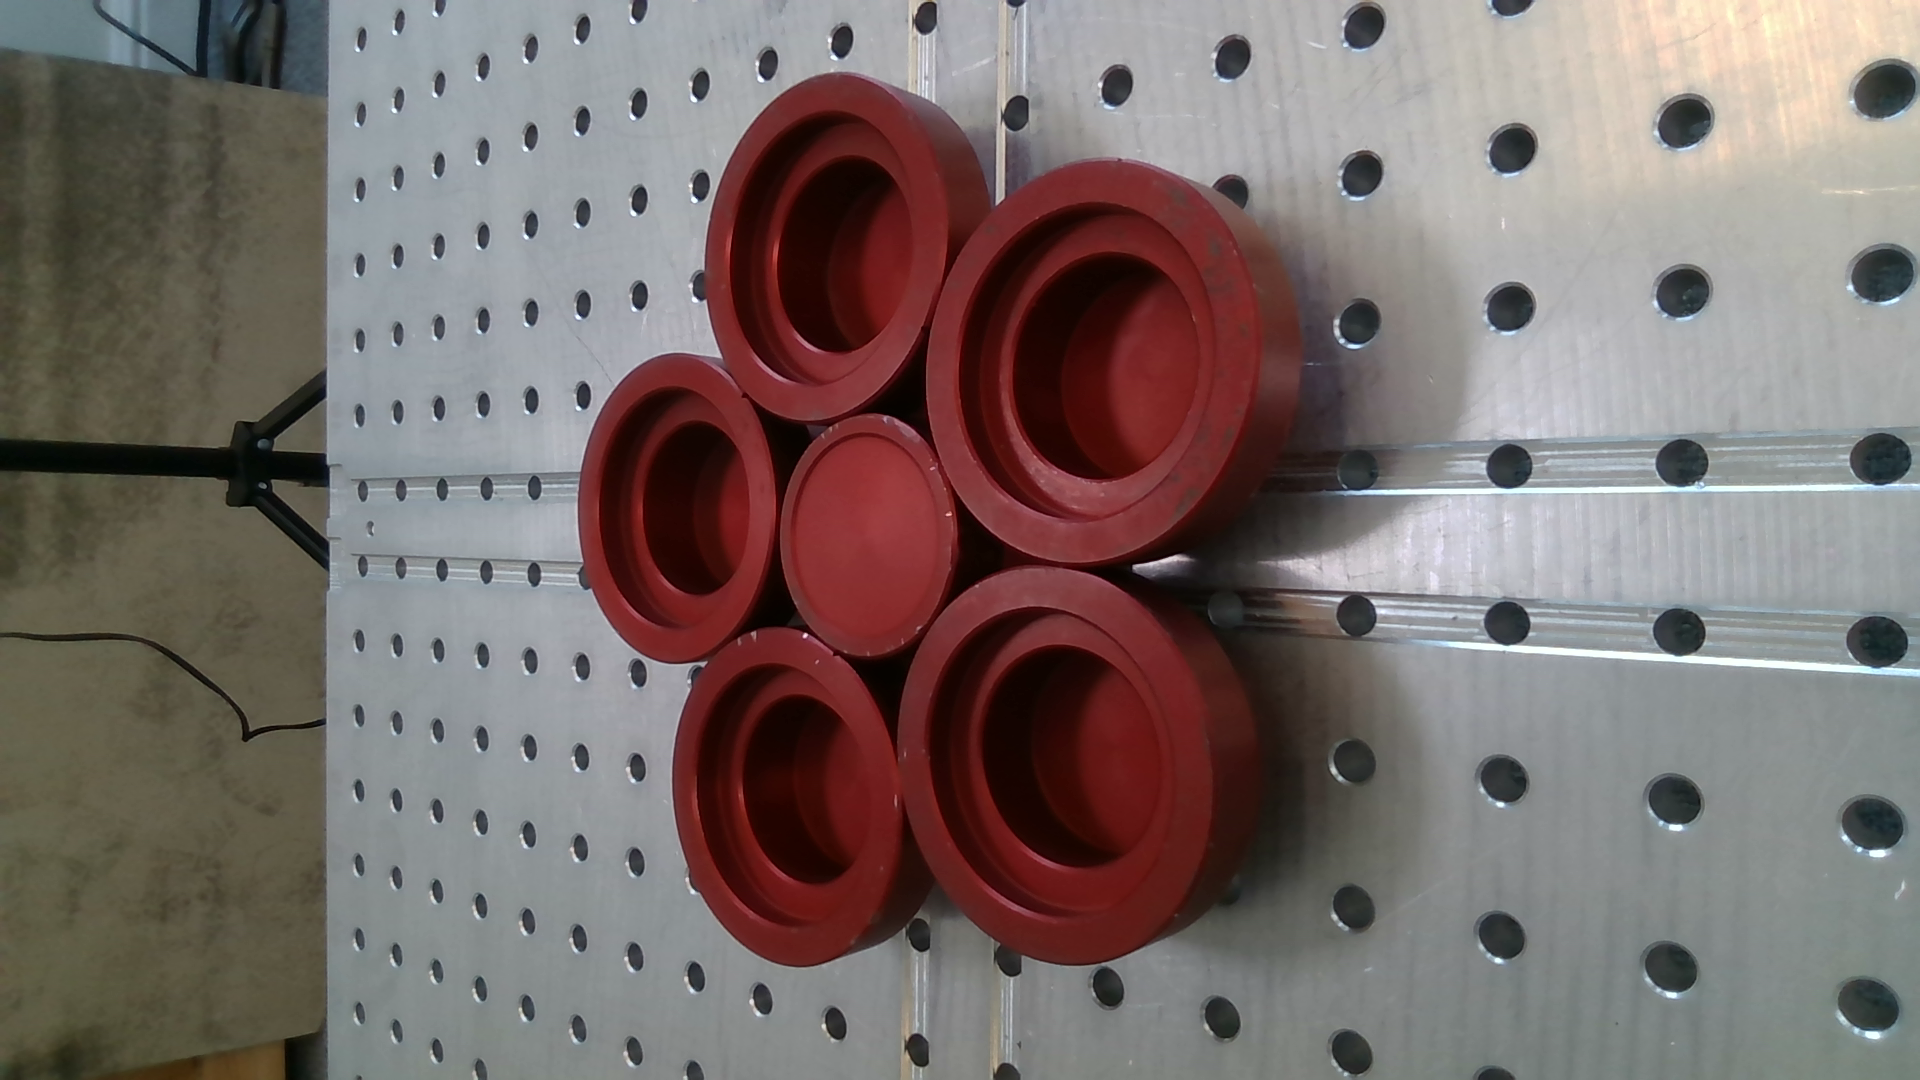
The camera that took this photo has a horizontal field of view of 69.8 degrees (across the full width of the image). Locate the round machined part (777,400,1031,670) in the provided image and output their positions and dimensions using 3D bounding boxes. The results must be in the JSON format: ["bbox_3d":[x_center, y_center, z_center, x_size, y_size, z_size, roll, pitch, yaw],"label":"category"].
[{"bbox_3d":[-0.014,-0.002,0.394,0.098,0.042,0.098,0,91,40],"label":"round machined part"}]

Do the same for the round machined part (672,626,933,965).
[{"bbox_3d":[-0.040,0.074,0.417,0.098,0.042,0.098,0,91,40],"label":"round machined part"}]

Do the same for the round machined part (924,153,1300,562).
[{"bbox_3d":[0.041,-0.044,0.347,0.098,0.042,0.098,0,91,40],"label":"round machined part"}]

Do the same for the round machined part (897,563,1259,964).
[{"bbox_3d":[0.033,0.055,0.354,0.098,0.042,0.098,0,91,40],"label":"round machined part"}]

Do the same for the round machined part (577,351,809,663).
[{"bbox_3d":[-0.079,-0.010,0.448,0.098,0.042,0.098,0,91,40],"label":"round machined part"}]

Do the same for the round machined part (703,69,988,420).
[{"bbox_3d":[-0.028,-0.083,0.405,0.098,0.042,0.098,0,91,40],"label":"round machined part"}]
